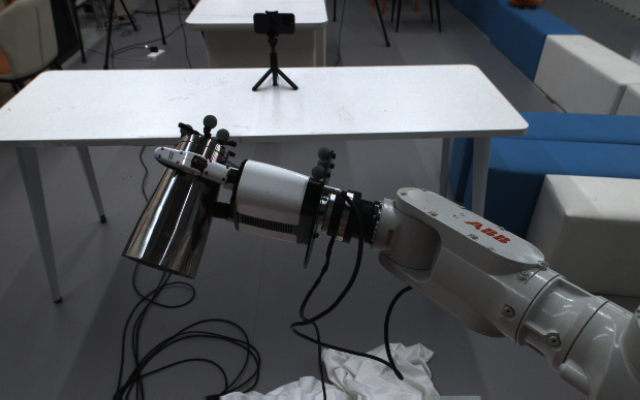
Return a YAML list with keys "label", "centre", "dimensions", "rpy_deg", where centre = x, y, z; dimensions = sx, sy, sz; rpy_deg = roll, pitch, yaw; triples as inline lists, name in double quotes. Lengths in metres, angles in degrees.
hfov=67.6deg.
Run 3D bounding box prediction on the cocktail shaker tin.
- label: "cocktail shaker tin"
  centre: [-0.175, 0.003, 0.620]
  dimensions: [0.093, 0.093, 0.170]
  rpy_deg: [12, 72, 14]
